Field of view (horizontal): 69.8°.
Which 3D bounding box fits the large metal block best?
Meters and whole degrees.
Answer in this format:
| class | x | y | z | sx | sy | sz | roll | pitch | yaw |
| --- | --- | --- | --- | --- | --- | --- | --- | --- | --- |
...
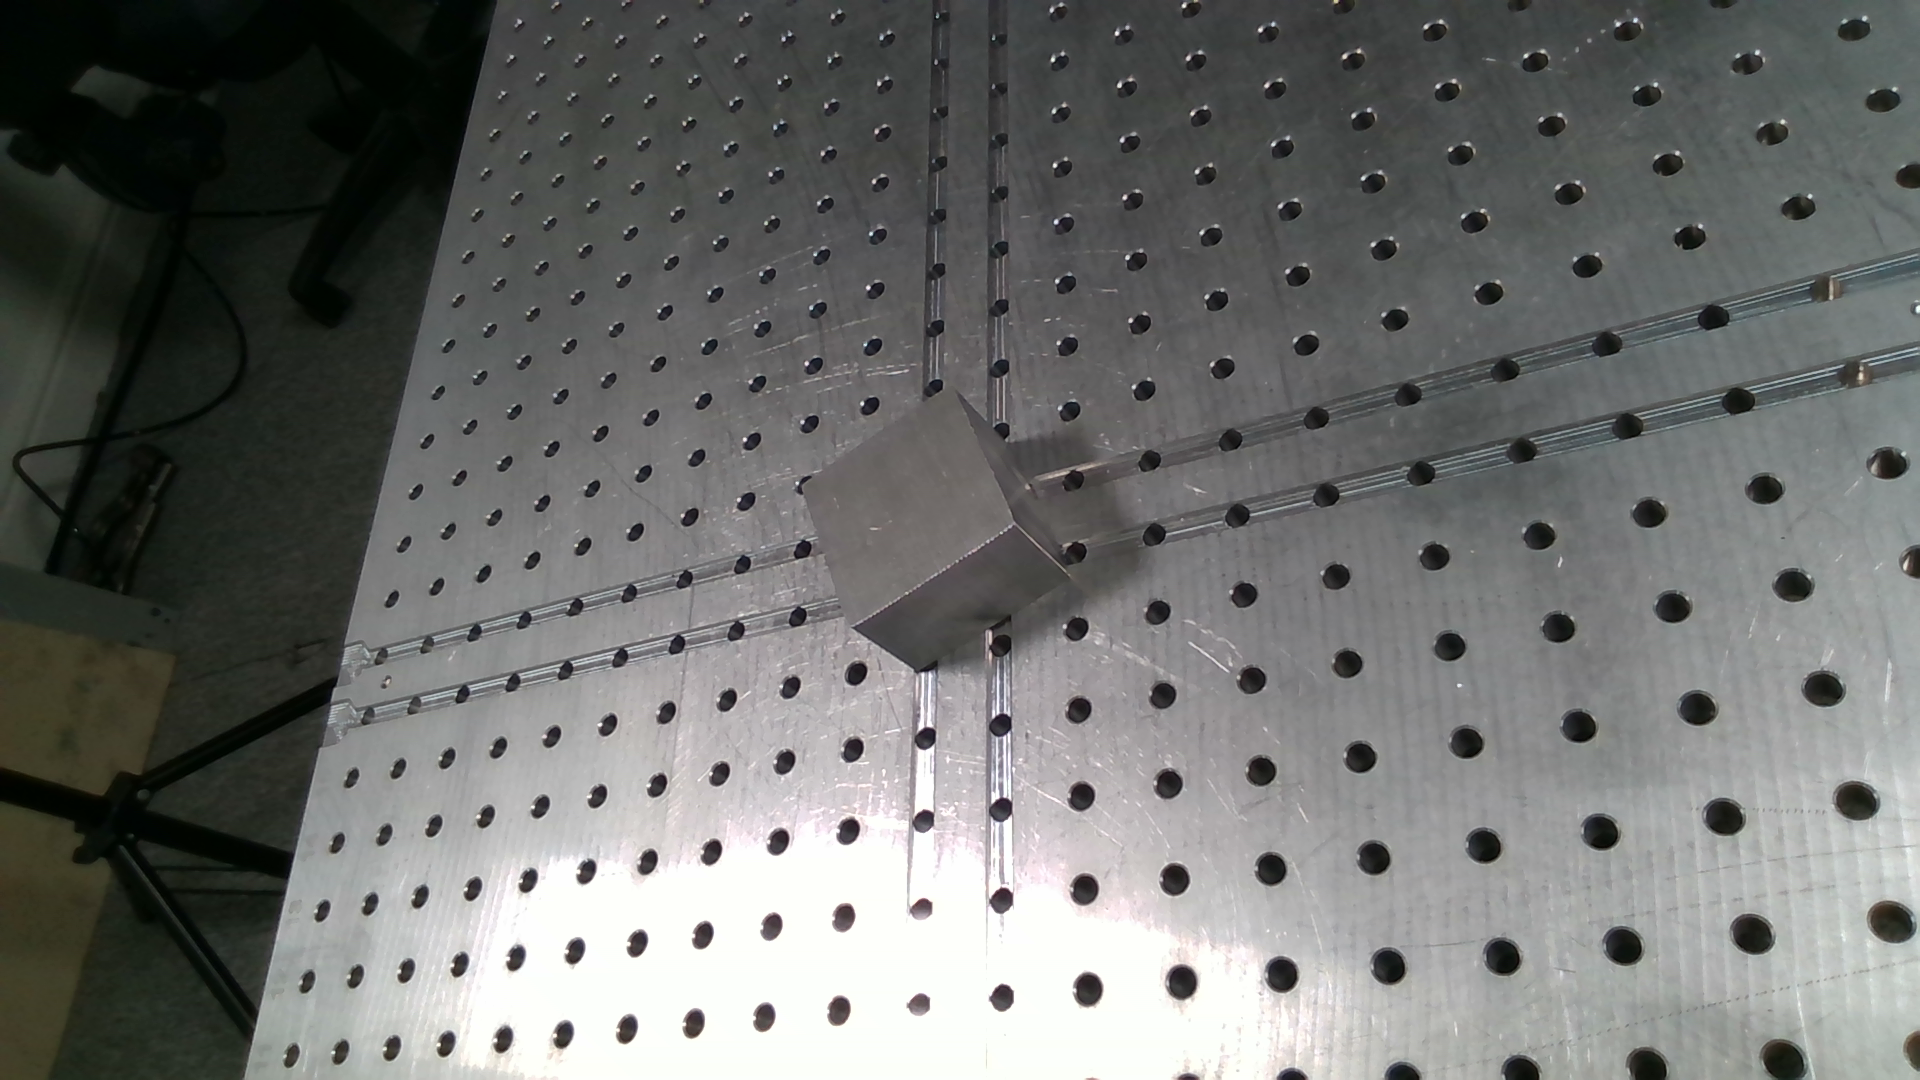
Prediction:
| class | x | y | z | sx | sy | sz | roll | pitch | yaw |
| --- | --- | --- | --- | --- | --- | --- | --- | --- | --- |
| large metal block | -0.012 | -0.004 | 0.579 | 0.080 | 0.050 | 0.080 | -33 | 53 | 13 |
